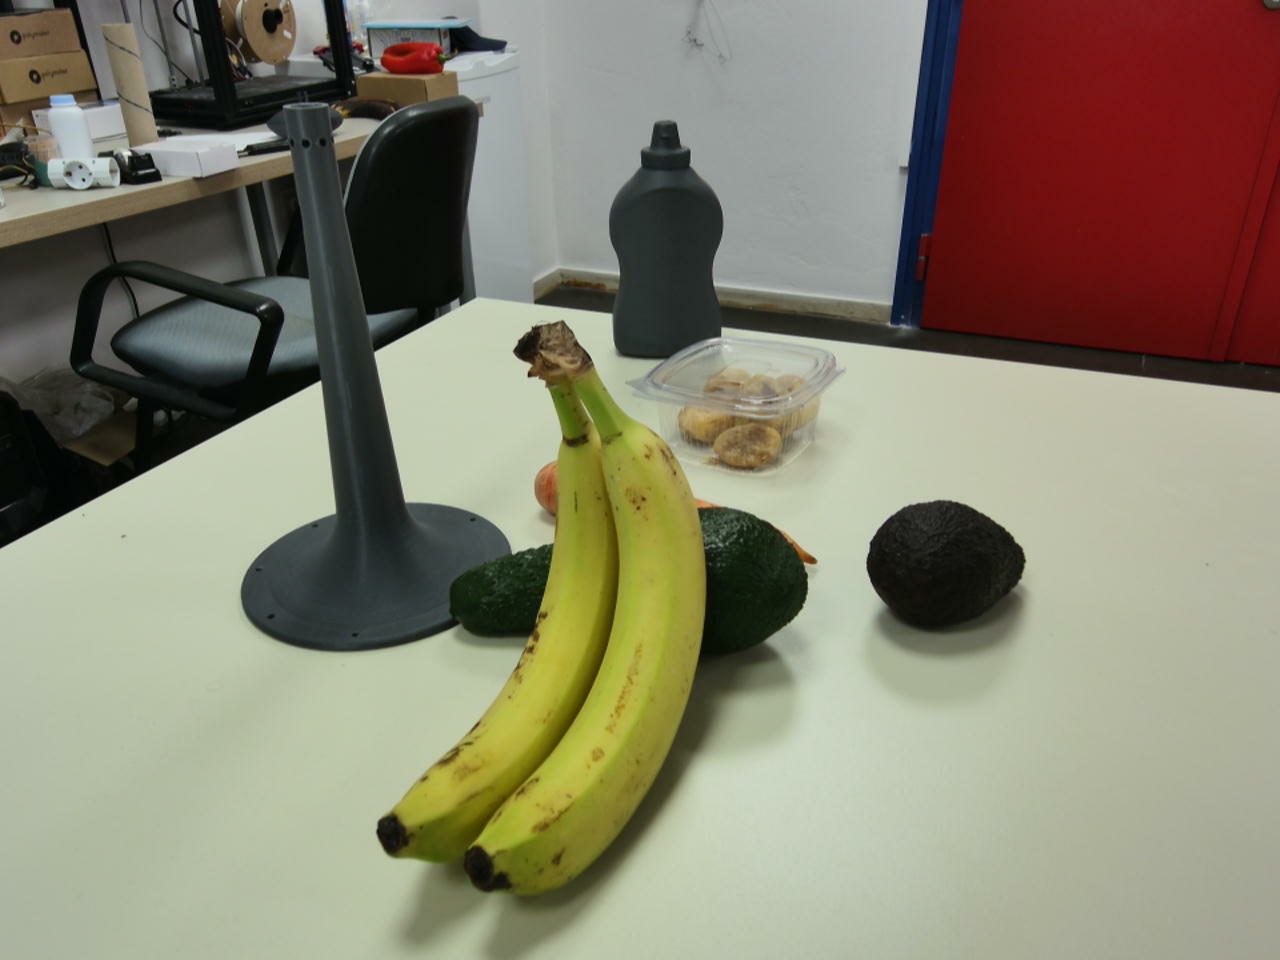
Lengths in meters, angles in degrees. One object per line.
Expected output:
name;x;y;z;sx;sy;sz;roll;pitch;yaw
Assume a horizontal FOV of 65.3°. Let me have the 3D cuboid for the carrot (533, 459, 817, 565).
carrot;0.020;0.020;0.641;0.196;0.041;0.039;11;28;22
